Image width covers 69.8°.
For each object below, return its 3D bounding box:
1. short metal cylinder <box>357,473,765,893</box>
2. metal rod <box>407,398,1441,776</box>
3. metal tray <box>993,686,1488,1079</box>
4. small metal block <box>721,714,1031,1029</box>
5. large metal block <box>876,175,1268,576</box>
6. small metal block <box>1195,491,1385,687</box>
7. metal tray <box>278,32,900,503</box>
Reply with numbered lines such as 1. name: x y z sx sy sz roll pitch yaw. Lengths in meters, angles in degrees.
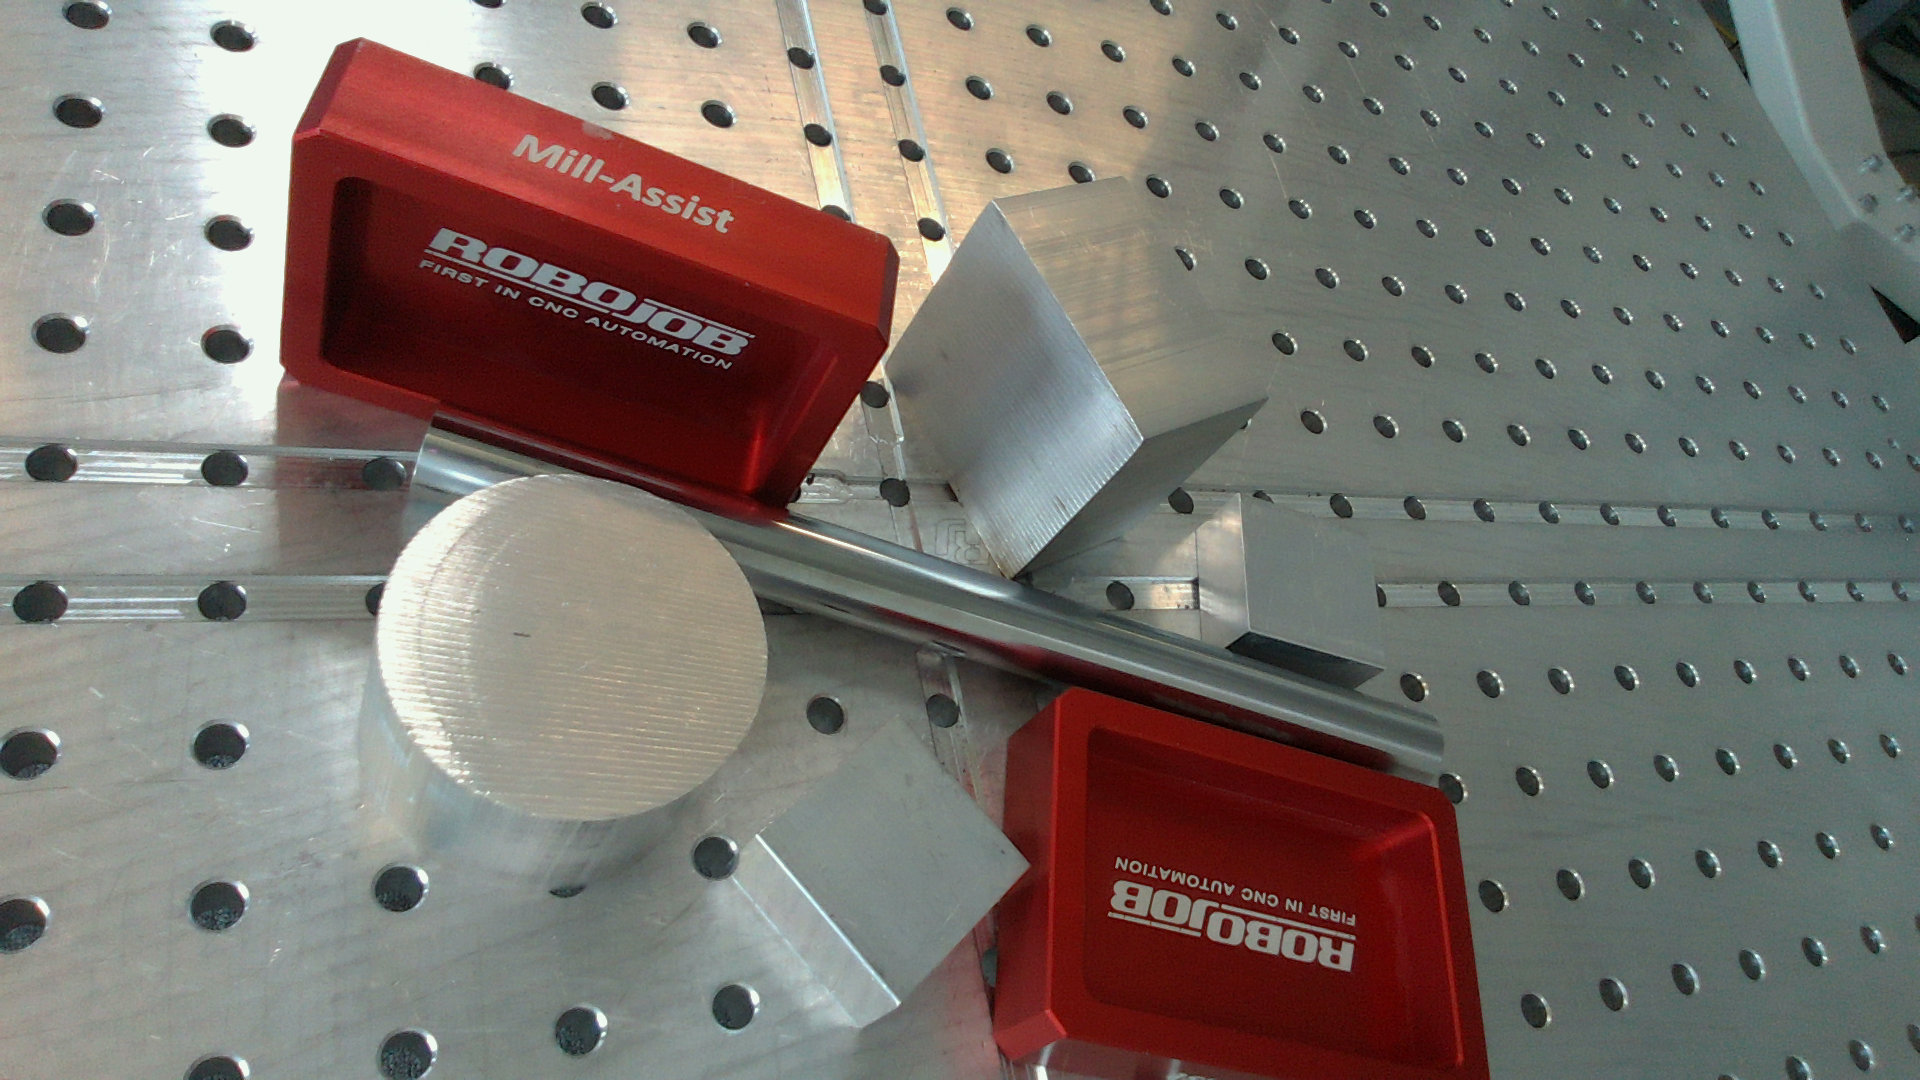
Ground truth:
1. short metal cylinder: -0.090 0.032 0.307 0.080 0.050 0.080 14 56 -21
2. metal rod: 0.005 0.021 0.382 0.301 0.025 0.025 18 54 -18
3. metal tray: 0.076 0.099 0.369 0.130 0.030 0.090 17 55 -19
4. small metal block: -0.020 0.080 0.334 0.050 0.025 0.050 48 51 6
5. large metal block: 0.029 -0.046 0.403 0.050 0.080 0.080 -20 72 -35
6. small metal block: 0.104 0.018 0.437 0.050 0.025 0.050 16 55 -19
7. metal tray: -0.091 -0.057 0.335 0.130 0.090 0.030 17 55 -18
